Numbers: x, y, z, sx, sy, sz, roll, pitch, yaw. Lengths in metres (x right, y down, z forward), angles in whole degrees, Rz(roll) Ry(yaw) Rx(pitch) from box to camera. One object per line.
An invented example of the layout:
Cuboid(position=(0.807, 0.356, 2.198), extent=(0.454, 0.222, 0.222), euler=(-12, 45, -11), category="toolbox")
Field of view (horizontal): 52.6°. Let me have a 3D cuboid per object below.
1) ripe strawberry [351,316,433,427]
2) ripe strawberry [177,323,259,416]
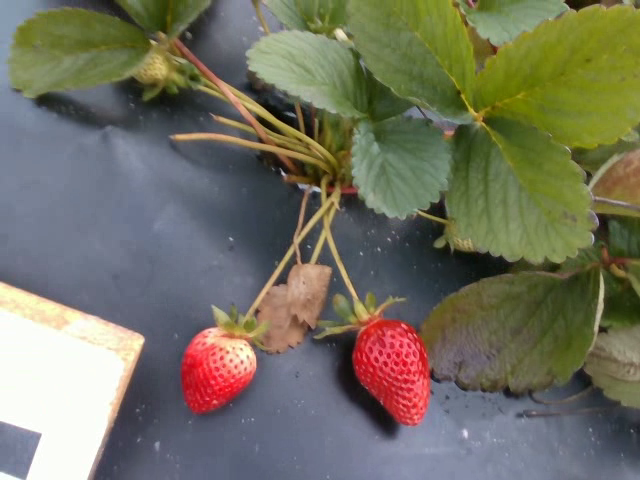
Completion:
Cuboid(position=(0.034, 0.058, 0.289), extent=(0.044, 0.059, 0.041), euler=(-22, -9, 14), category="ripe strawberry")
Cuboid(position=(-0.045, 0.057, 0.272), extent=(0.036, 0.041, 0.028), euler=(24, -6, 2), category="ripe strawberry")
